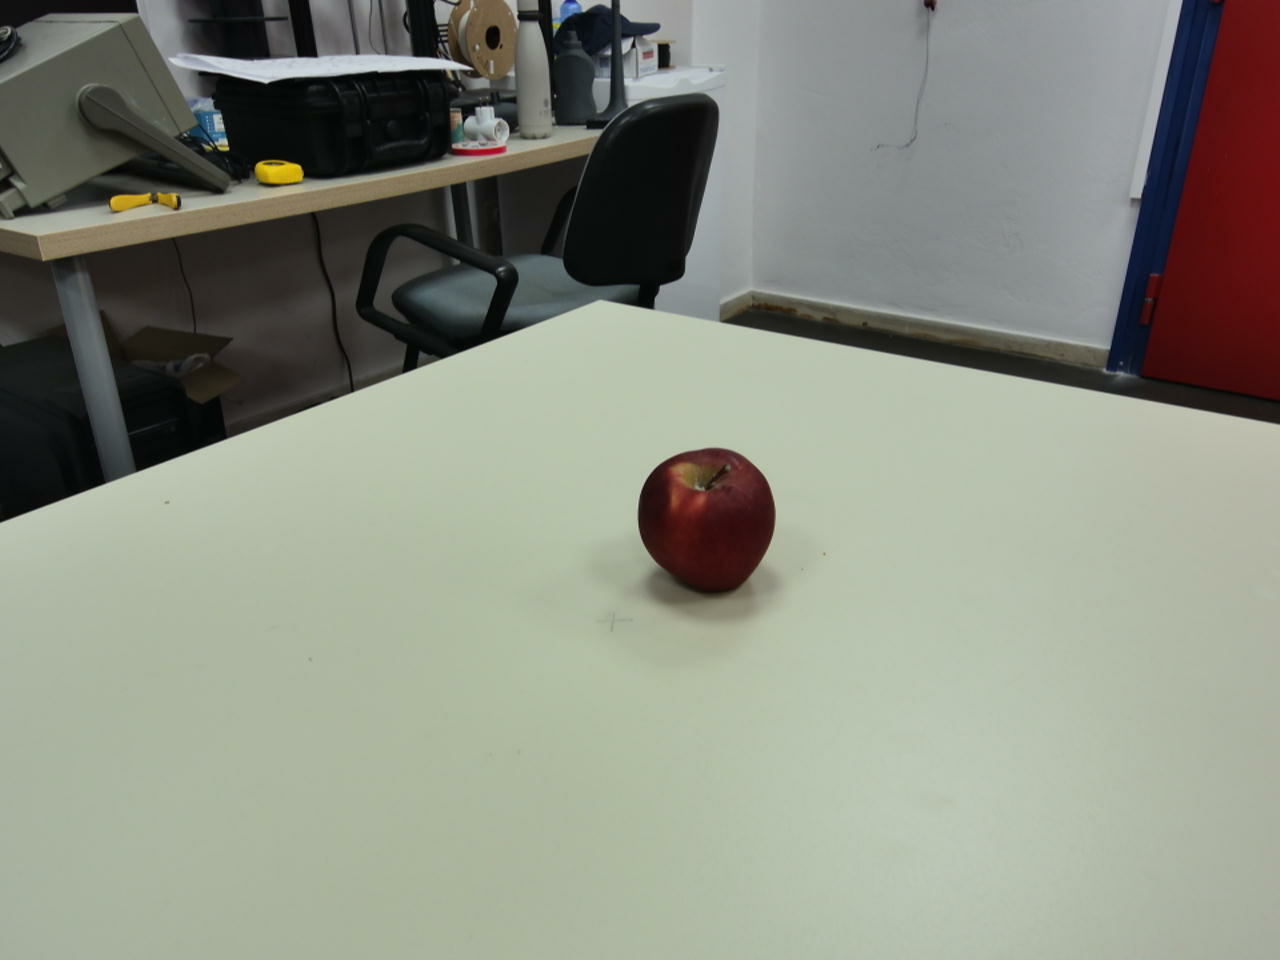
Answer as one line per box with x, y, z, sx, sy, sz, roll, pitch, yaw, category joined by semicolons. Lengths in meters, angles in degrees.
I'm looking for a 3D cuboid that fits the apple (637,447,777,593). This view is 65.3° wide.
0.034;0.019;0.502;0.070;0.072;0.070;1;24;0;apple
